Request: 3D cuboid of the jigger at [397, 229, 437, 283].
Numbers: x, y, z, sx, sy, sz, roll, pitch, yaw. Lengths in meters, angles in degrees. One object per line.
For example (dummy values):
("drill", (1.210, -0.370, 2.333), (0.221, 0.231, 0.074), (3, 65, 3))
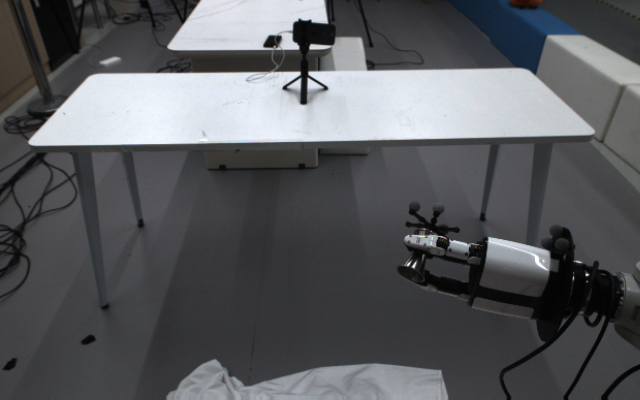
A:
("jigger", (0.143, 0.076, 0.704), (0.043, 0.043, 0.071), (20, 61, 23))
